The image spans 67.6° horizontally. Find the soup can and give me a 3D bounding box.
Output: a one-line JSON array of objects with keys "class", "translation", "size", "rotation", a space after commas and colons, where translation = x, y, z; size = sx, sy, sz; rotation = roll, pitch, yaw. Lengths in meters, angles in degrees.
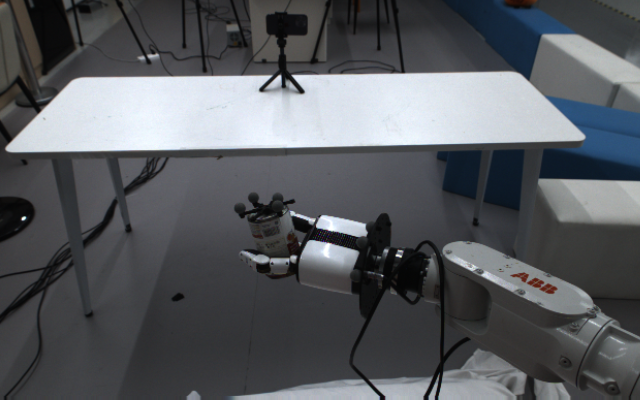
[{"class": "soup can", "translation": [-0.068, 0.063, 0.756], "size": [0.067, 0.101, 0.067], "rotation": [-13, 20, 5]}]
